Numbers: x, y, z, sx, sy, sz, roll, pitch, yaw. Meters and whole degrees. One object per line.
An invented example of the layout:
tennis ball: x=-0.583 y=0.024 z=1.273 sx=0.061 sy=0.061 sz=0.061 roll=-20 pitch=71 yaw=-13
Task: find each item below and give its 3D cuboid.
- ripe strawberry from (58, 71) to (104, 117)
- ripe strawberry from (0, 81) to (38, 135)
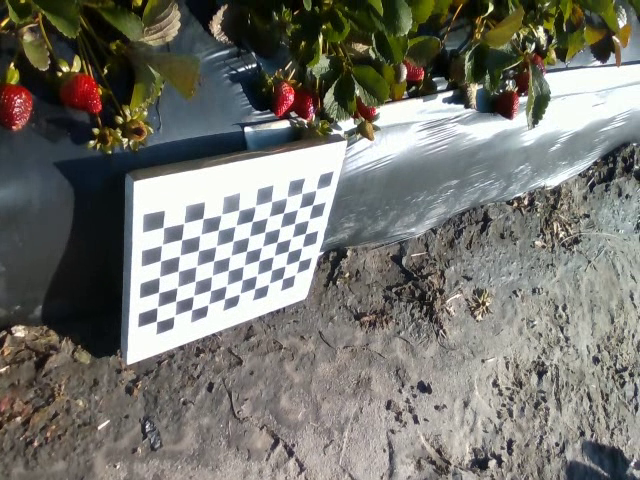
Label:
ripe strawberry: x=-0.236 y=-0.145 z=0.661 sx=0.042 sy=0.049 sz=0.039 roll=-43 pitch=-6 yaw=0
ripe strawberry: x=-0.290 y=-0.123 z=0.618 sx=0.050 sy=0.050 sz=0.044 roll=0 pitch=-32 yaw=-49
